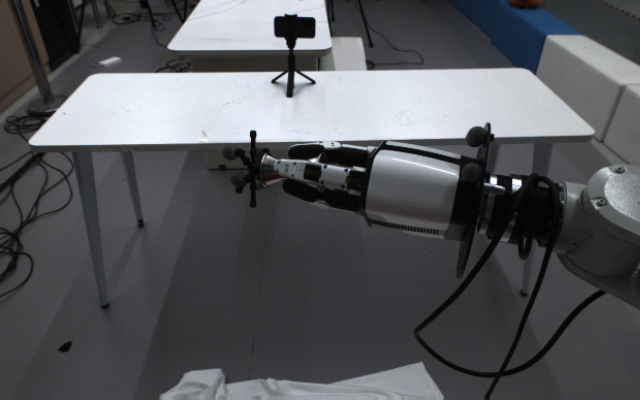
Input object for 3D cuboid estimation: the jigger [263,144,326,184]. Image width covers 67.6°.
[{"bbox_3d":[-0.024,-0.038,0.548,0.071,0.043,0.043,2,34,17],"label":"jigger"}]
